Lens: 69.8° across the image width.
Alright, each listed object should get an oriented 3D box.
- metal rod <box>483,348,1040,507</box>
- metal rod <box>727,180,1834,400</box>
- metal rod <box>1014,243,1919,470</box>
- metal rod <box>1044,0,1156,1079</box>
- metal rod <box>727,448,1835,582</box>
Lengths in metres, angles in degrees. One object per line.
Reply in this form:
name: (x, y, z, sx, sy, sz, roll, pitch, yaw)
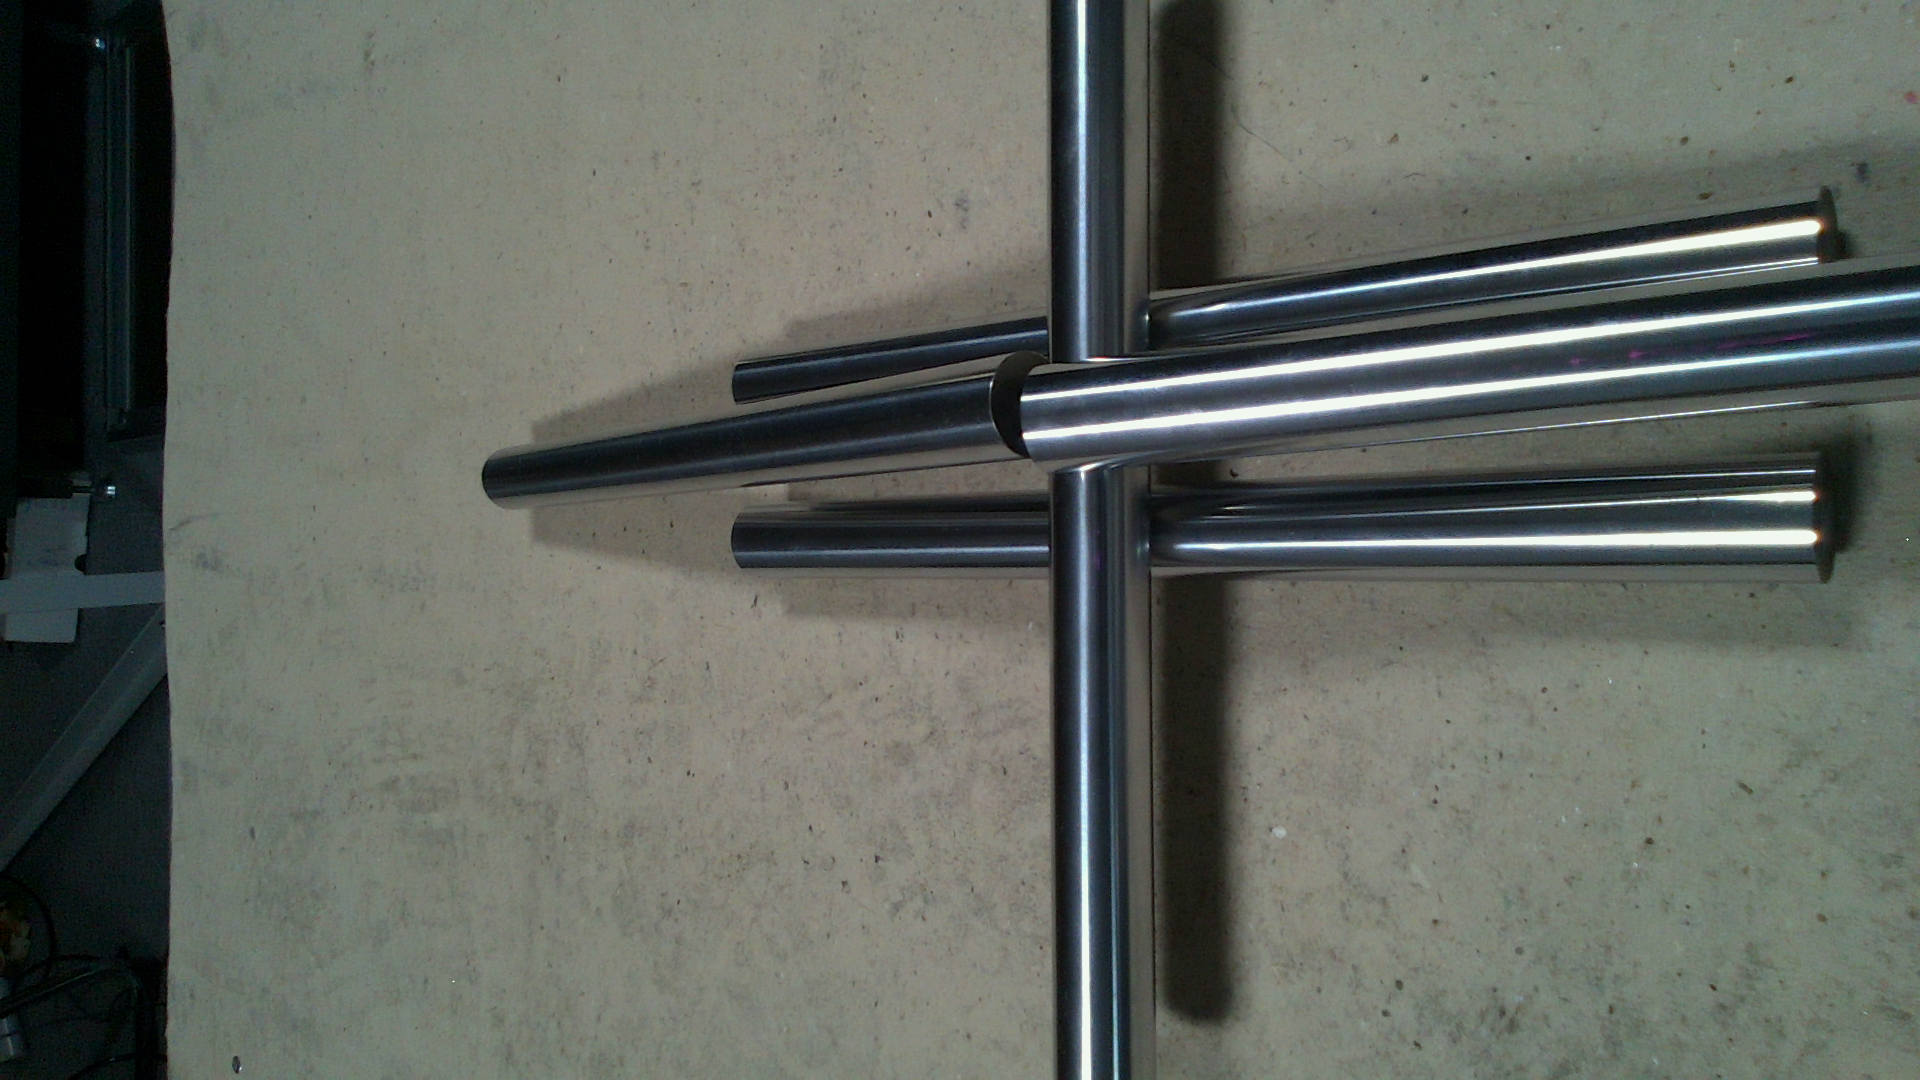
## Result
metal rod: (-0.080, -0.028, 0.429, 0.299, 0.025, 0.025, -2, 89, 50)
metal rod: (0.048, -0.052, 0.354, 0.299, 0.025, 0.025, -1, 89, 40)
metal rod: (0.147, -0.036, 0.238, 0.299, 0.025, 0.025, -4, 88, 30)
metal rod: (0.034, -0.011, 0.334, 0.025, 0.025, 0.300, -1, 90, 40)
metal rod: (0.048, -0.002, 0.354, 0.299, 0.025, 0.025, -1, 89, 40)
